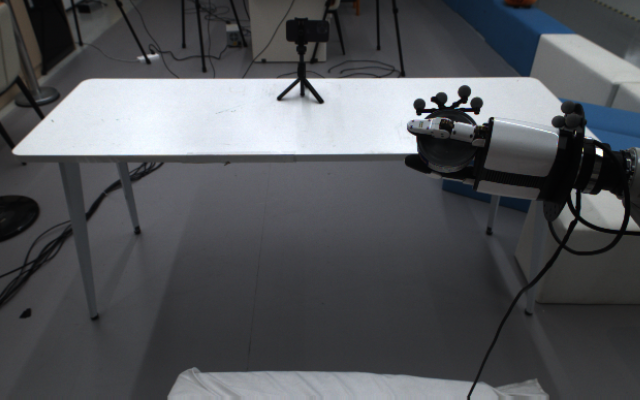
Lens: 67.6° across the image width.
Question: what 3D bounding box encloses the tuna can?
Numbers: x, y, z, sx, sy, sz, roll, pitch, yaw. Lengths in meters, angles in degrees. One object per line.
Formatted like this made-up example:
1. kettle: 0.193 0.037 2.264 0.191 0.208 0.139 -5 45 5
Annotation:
1. tuna can: 0.180 -0.084 0.685 0.085 0.034 0.085 -3 73 11
